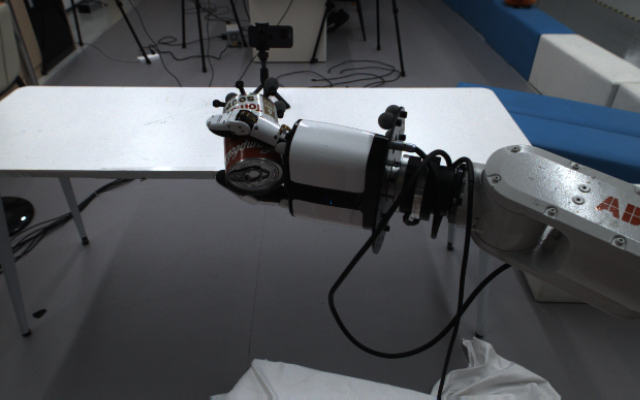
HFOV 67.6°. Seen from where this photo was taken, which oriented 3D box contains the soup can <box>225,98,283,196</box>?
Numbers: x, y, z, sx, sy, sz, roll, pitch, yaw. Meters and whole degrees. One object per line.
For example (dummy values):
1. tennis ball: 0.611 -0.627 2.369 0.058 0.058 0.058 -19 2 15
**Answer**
1. soup can: -0.077 -0.065 0.564 0.067 0.067 0.101 -5 57 -10
